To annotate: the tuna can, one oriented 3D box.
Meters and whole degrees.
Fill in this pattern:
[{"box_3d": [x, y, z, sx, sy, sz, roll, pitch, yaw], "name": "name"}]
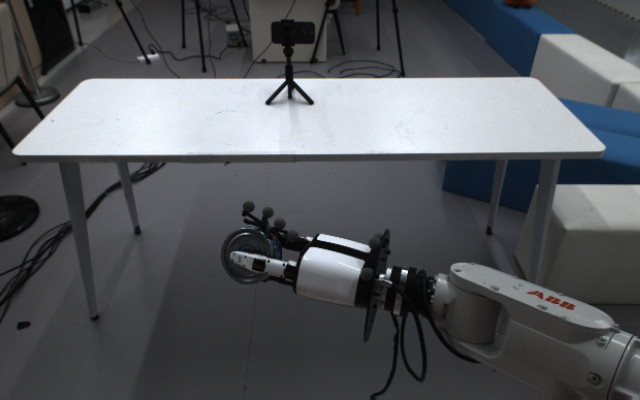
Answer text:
[{"box_3d": [-0.098, 0.087, 0.709, 0.085, 0.085, 0.034, 12, 4, 14], "name": "tuna can"}]
